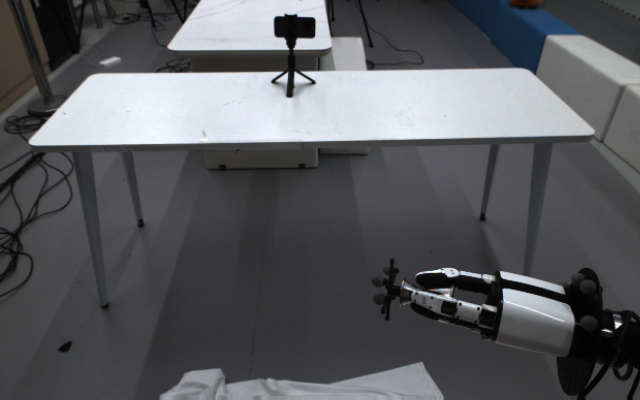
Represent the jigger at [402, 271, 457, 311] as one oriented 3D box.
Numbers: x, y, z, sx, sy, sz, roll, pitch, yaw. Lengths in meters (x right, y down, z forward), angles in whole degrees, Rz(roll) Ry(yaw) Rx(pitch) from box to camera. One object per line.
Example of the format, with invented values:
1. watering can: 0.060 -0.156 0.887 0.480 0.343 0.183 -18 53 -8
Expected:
1. jigger: 0.154 0.126 0.663 0.071 0.043 0.043 5 34 19
